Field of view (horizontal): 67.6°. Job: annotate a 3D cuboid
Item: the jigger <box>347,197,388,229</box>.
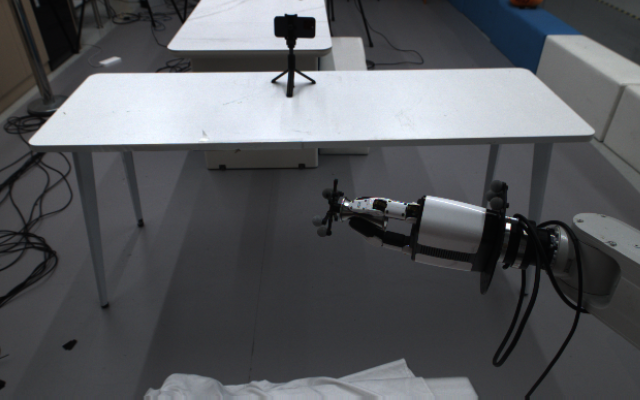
[{"bbox_3d":[0.073,0.016,0.726,0.071,0.043,0.043,10,35,15],"label":"jigger"}]
